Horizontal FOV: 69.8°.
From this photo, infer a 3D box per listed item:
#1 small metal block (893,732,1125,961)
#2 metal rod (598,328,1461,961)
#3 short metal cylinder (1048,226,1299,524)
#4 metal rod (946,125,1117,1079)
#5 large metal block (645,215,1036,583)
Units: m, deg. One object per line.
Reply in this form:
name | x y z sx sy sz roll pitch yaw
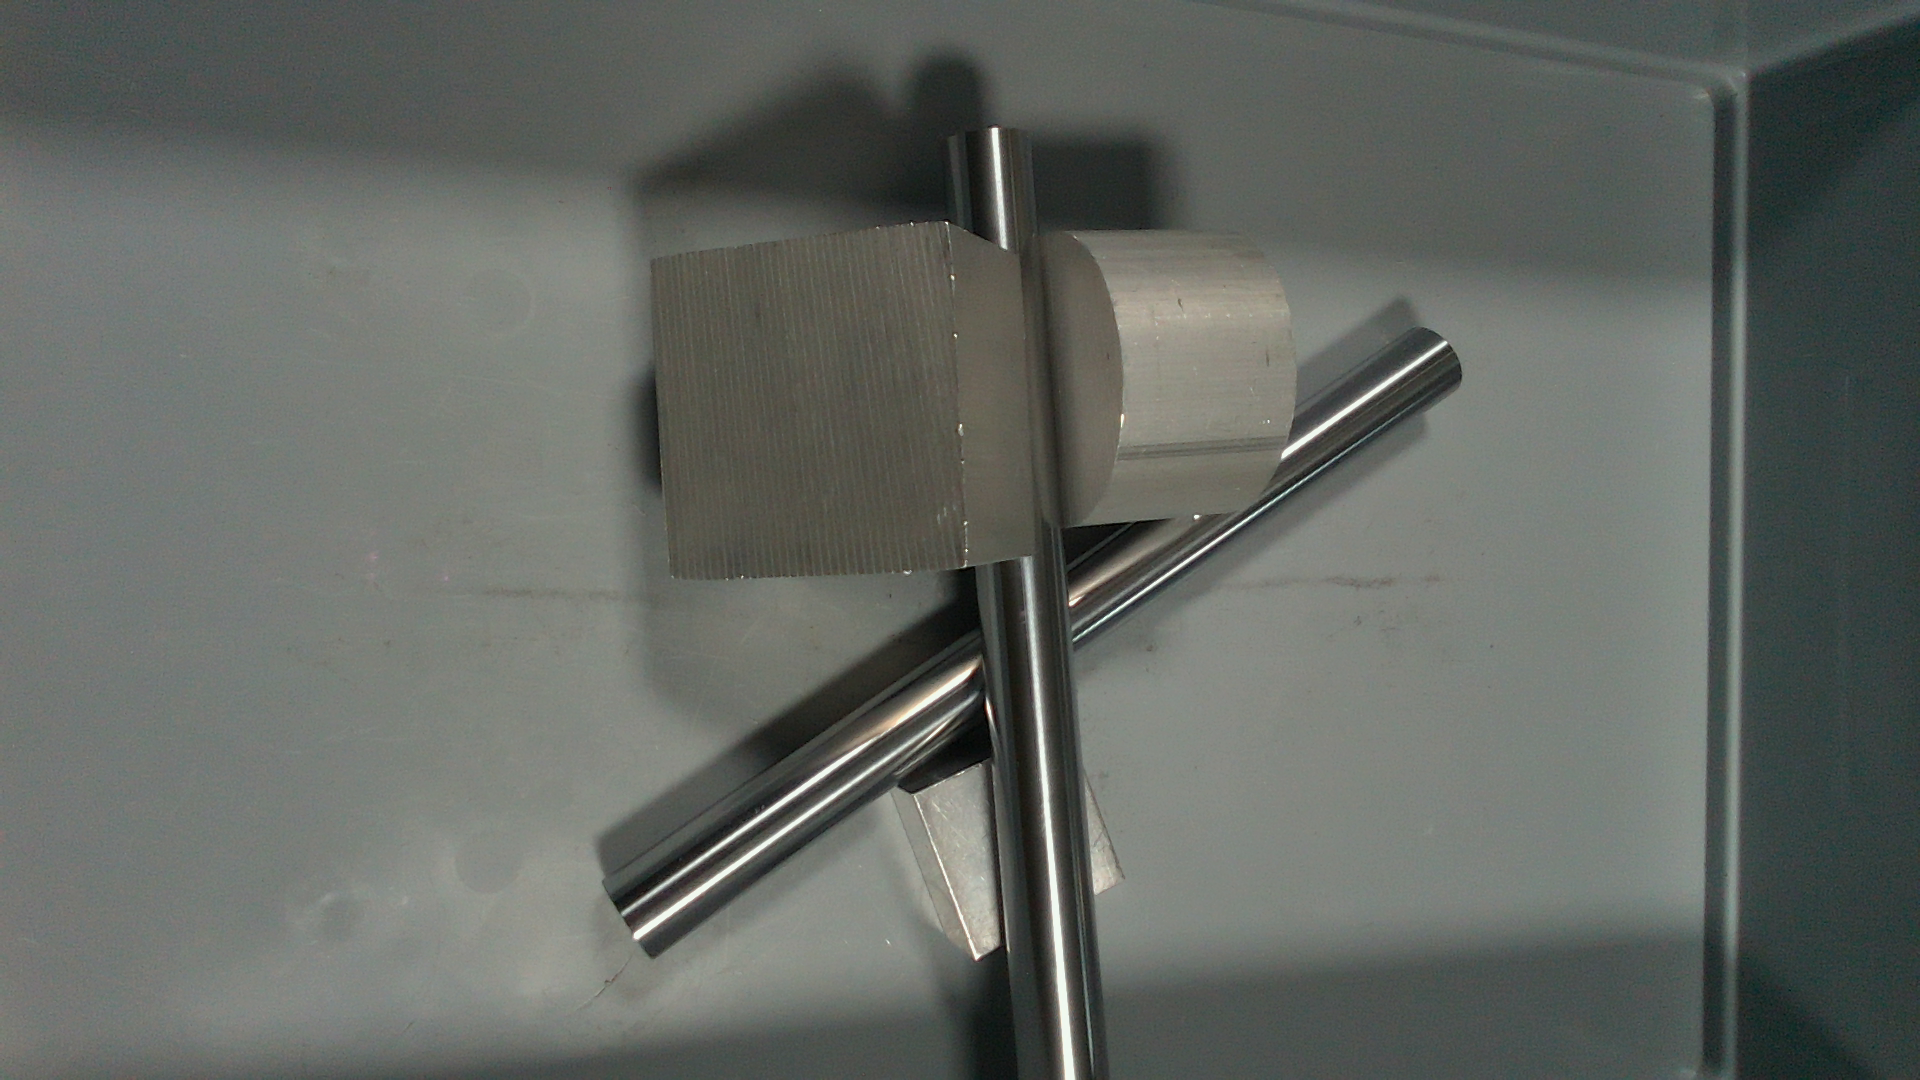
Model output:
small metal block | 0.013 0.084 0.397 0.050 0.025 0.050 -23 98 -18
metal rod | 0.032 0.021 0.403 0.301 0.025 0.025 -33 101 -17
short metal cylinder | 0.049 -0.046 0.380 0.050 0.080 0.080 -5 92 -21
metal rod | 0.021 0.041 0.373 0.025 0.025 0.300 -5 91 -20
large metal block | -0.029 -0.032 0.348 0.080 0.050 0.080 -3 91 21
